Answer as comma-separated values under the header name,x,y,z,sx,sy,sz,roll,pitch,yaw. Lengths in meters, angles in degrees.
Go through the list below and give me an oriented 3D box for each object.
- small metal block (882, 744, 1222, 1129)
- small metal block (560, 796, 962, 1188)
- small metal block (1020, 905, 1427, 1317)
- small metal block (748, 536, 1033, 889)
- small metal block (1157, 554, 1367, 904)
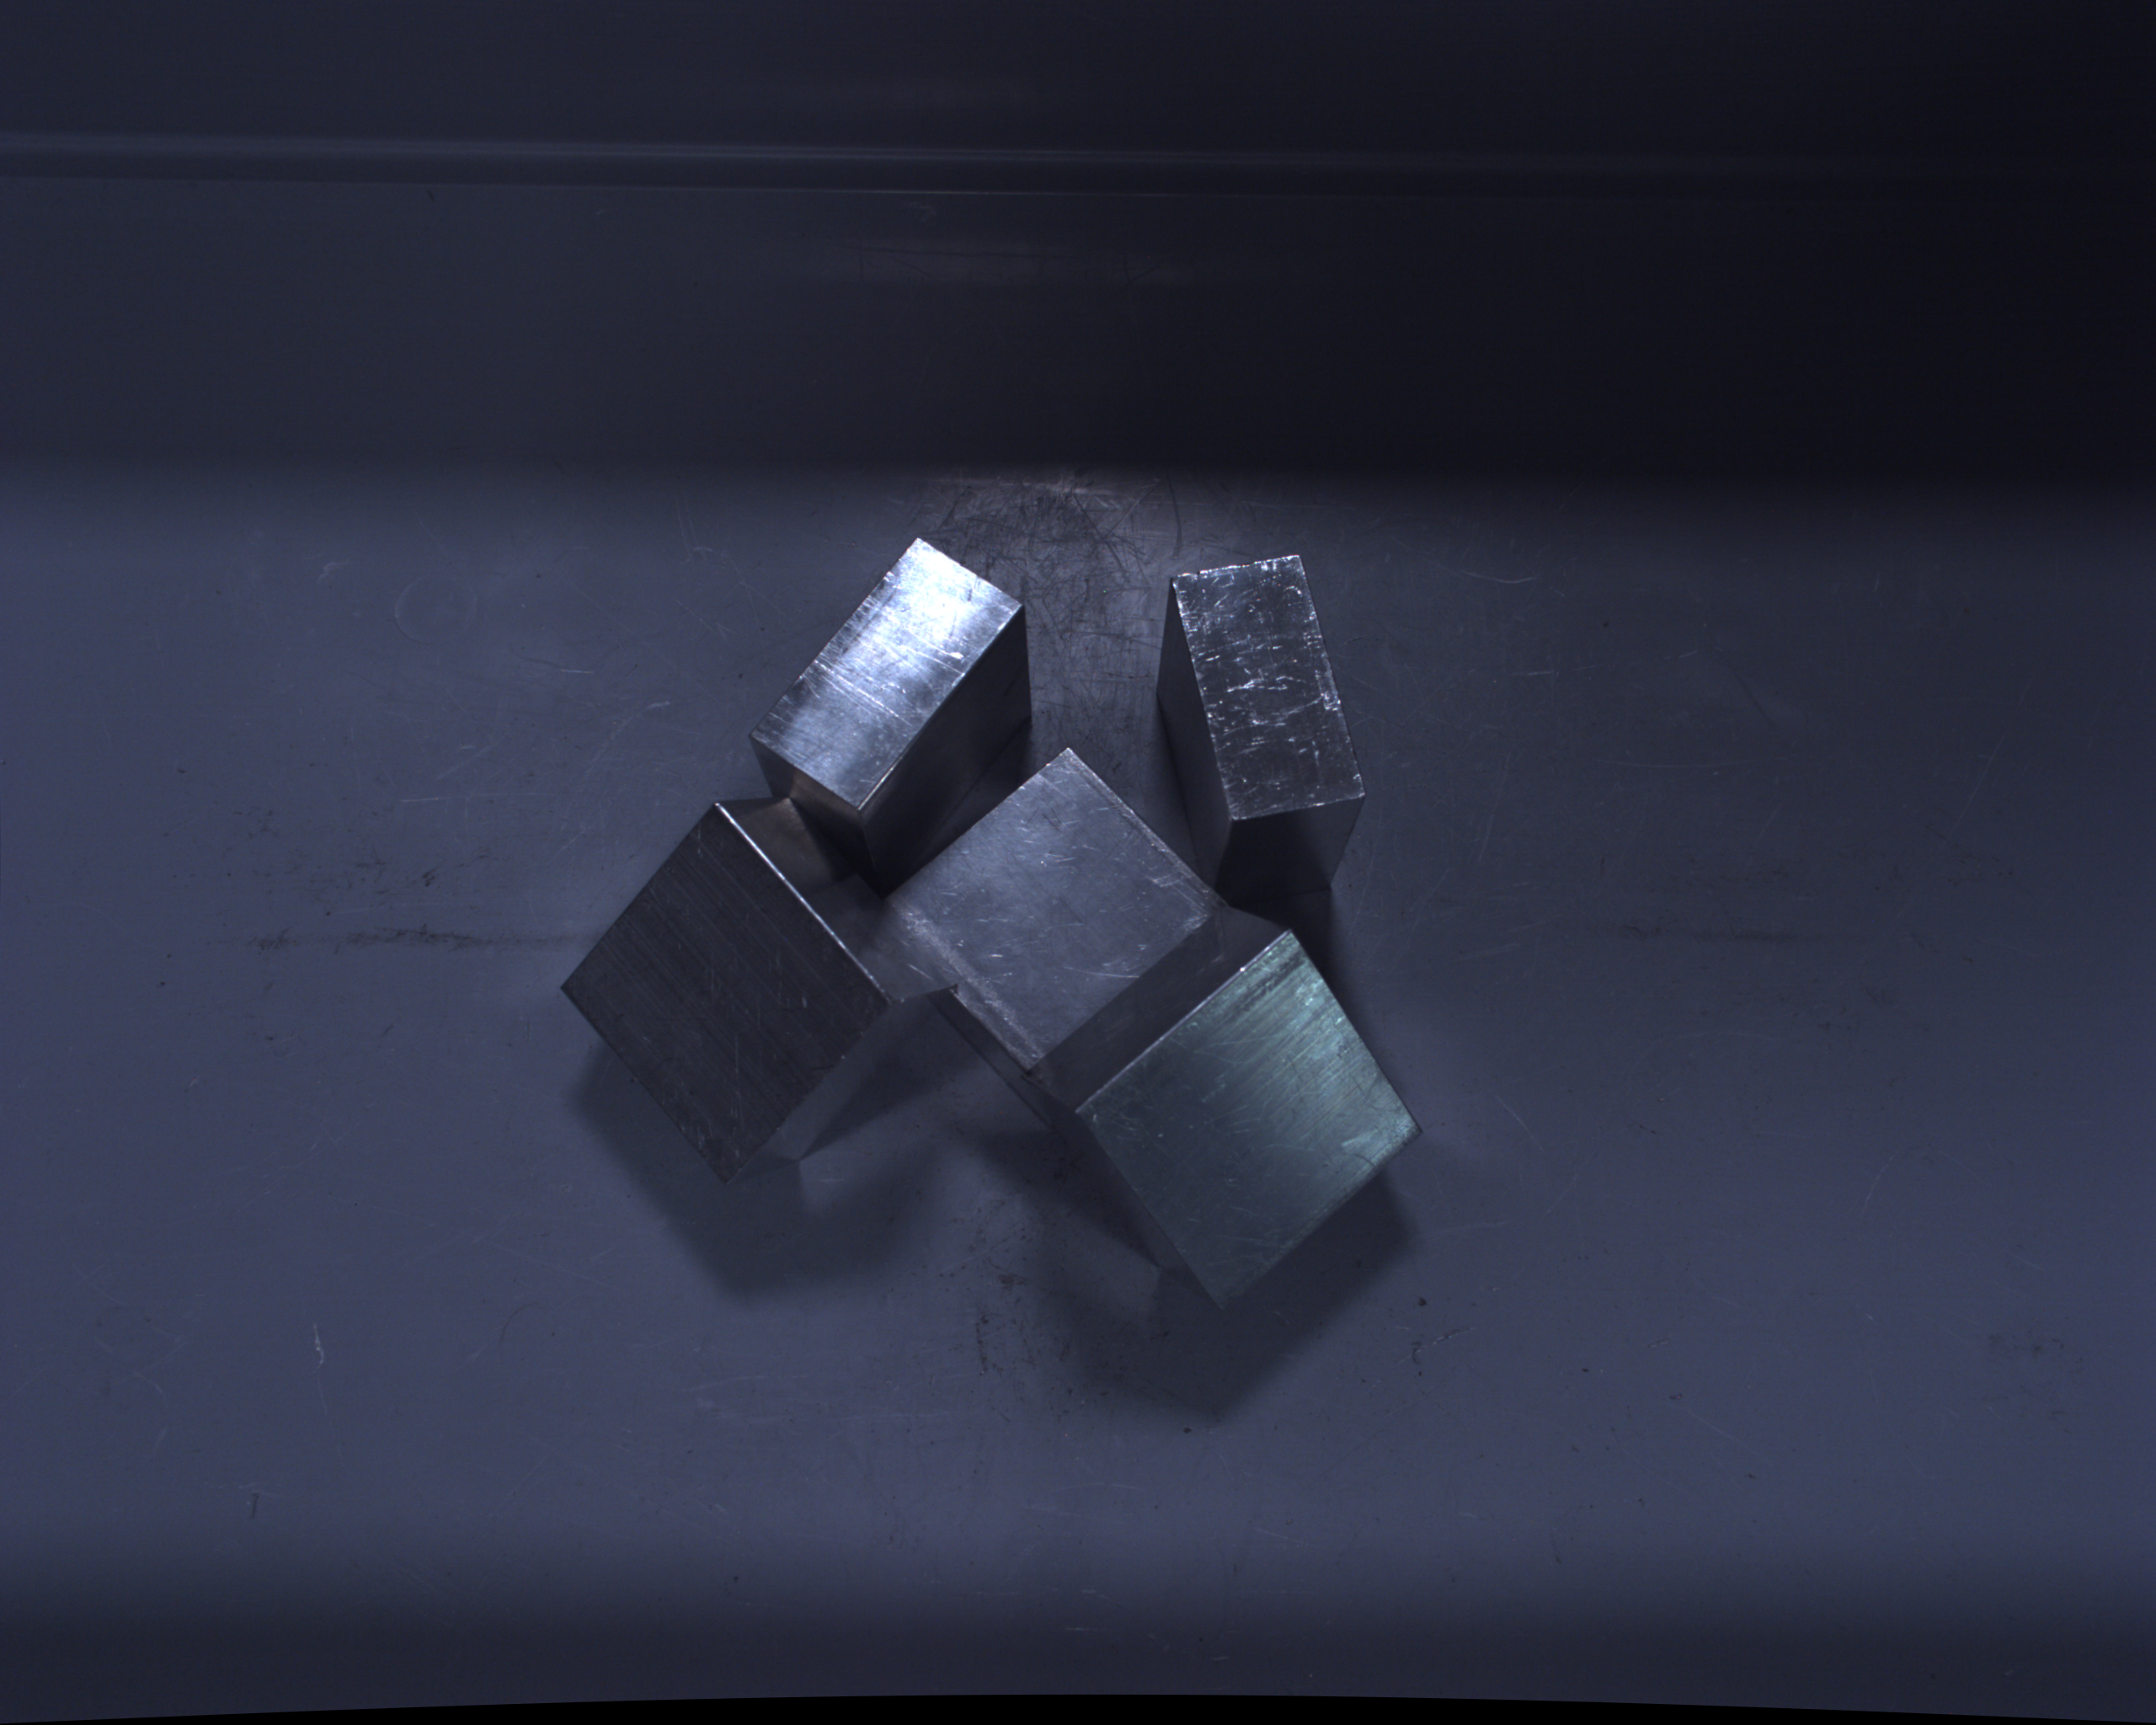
name,x,y,z,sx,sy,sz,roll,pitch,yaw
small metal block,-0.004,0.014,0.402,0.050,0.025,0.050,-40,75,-14
small metal block,-0.059,0.023,0.386,0.050,0.025,0.050,47,109,14
small metal block,0.027,0.044,0.378,0.050,0.025,0.050,-39,112,-14
small metal block,-0.034,-0.027,0.403,0.025,0.050,0.050,35,74,12
small metal block,0.034,-0.024,0.403,0.025,0.050,0.050,-10,70,-5
